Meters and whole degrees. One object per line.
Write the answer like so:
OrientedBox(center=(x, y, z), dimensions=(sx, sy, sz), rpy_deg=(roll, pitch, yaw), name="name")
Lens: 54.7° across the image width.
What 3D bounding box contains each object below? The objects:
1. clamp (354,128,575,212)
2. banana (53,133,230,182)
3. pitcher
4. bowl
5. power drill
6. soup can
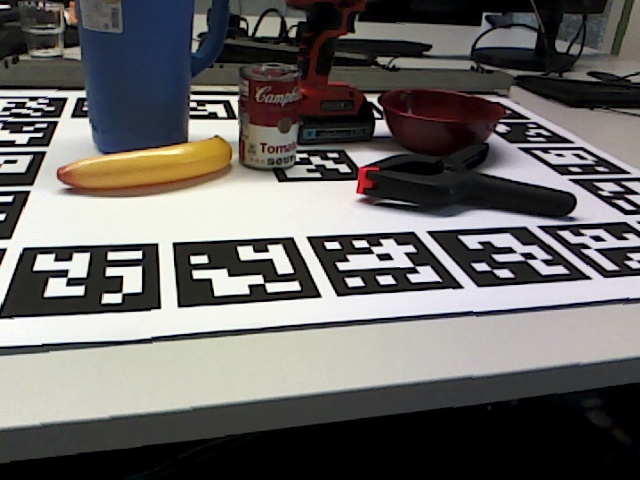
OrientedBox(center=(0.133, -0.073, 0.641), dimensions=(0.202, 0.036, 0.166), rpy_deg=(-4, 34, -16), name="clamp")
OrientedBox(center=(-0.166, -0.084, 0.632), dimensions=(0.196, 0.039, 0.075), rpy_deg=(-17, 28, -37), name="banana")
OrientedBox(center=(-0.183, -0.230, 0.677), dimensions=(0.188, 0.242, 0.134), rpy_deg=(-17, 33, -35), name="pitcher")
OrientedBox(center=(0.151, -0.156, 0.787), dimensions=(0.161, 0.055, 0.162), rpy_deg=(4, 31, -2), name="bowl")
OrientedBox(center=(0.038, -0.252, 0.769), dimensions=(0.184, 0.186, 0.058), rpy_deg=(-5, 31, -19), name="power drill")
OrientedBox(center=(-0.056, -0.144, 0.688), dimensions=(0.068, 0.102, 0.068), rpy_deg=(2, 21, -1), name="soup can")
